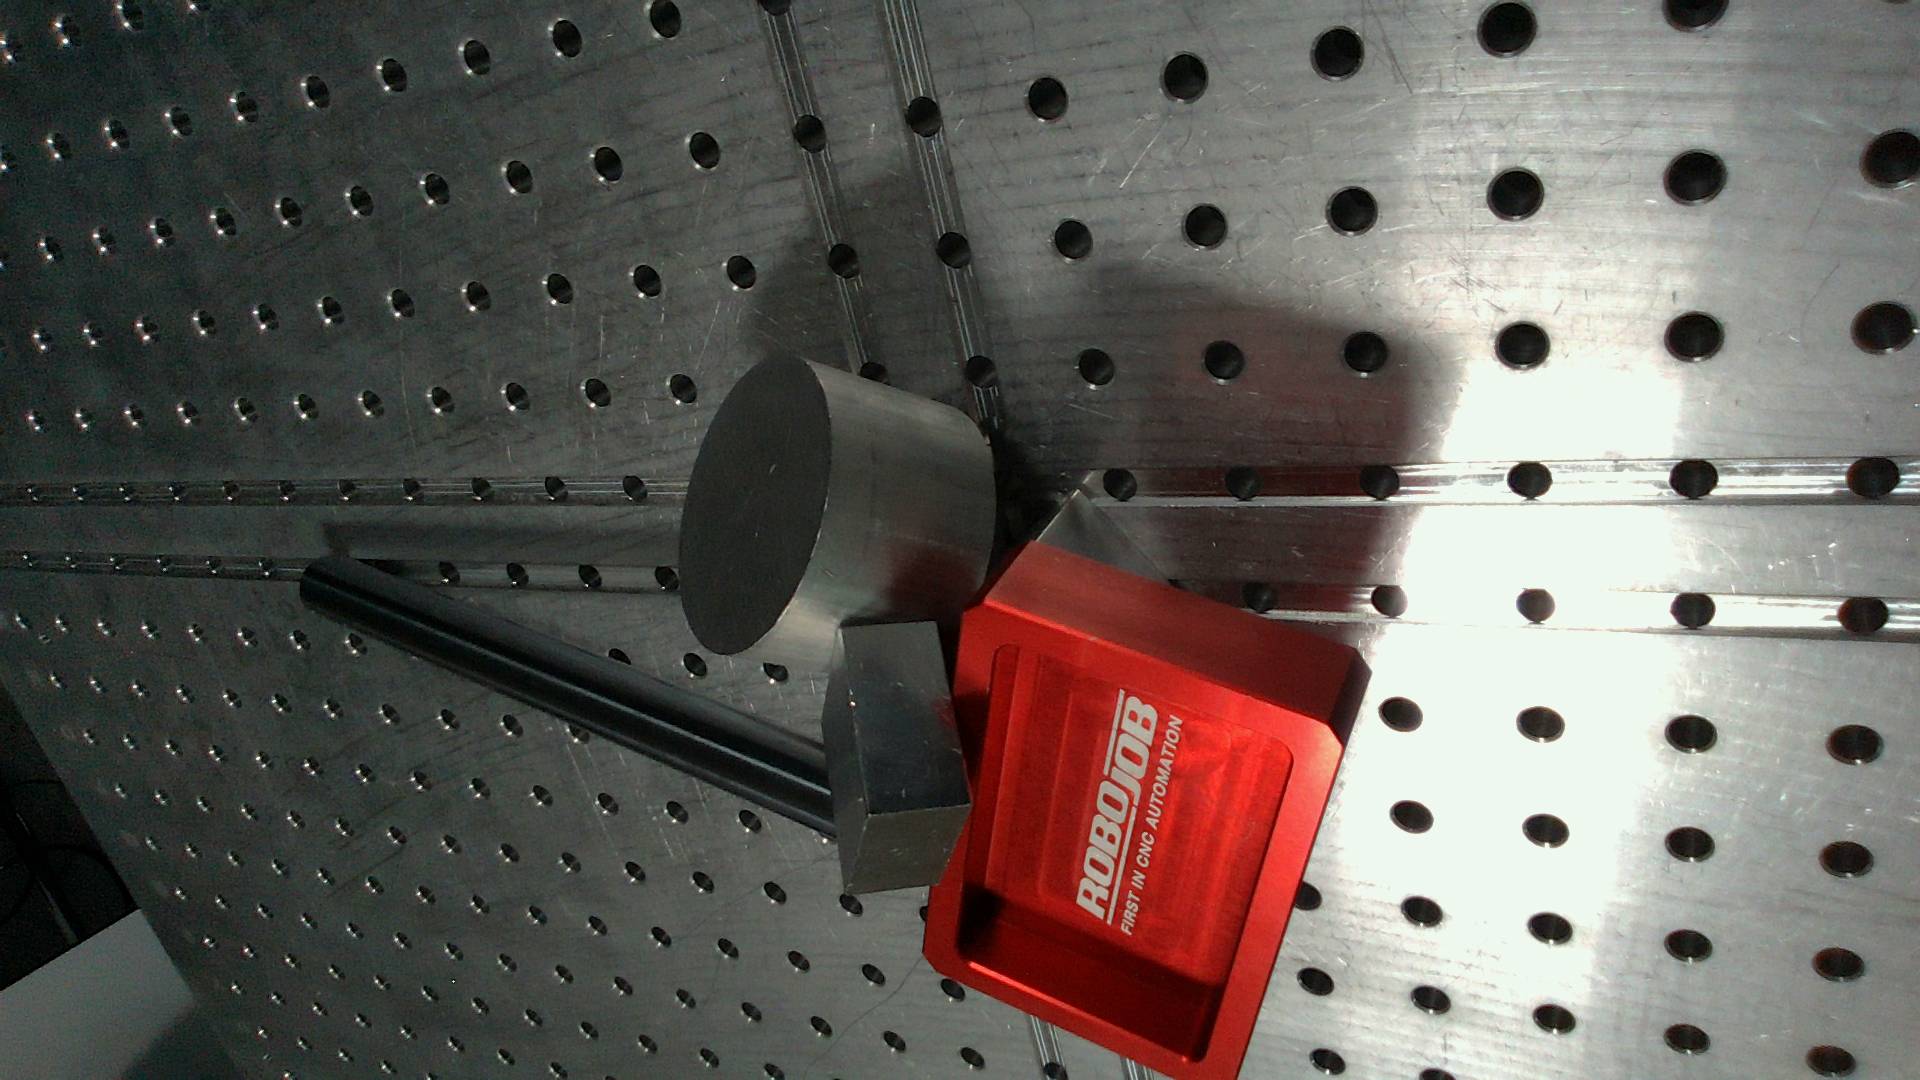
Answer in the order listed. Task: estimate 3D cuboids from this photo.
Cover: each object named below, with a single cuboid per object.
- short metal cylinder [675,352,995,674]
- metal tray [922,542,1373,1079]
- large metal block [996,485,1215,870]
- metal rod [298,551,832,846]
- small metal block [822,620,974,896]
[{"bbox_3d":[-0.035,-0.005,0.368,0.050,0.080,0.080,15,141,-35],"label":"short metal cylinder"},{"bbox_3d":[0.041,0.073,0.347,0.090,0.030,0.130,19,126,17],"label":"metal tray"},{"bbox_3d":[0.026,0.046,0.392,0.080,0.050,0.080,46,129,-4],"label":"large metal block"},{"bbox_3d":[-0.127,0.049,0.457,0.299,0.025,0.025,15,126,34],"label":"metal rod"},{"bbox_3d":[-0.018,0.055,0.346,0.025,0.050,0.050,-3,147,-14],"label":"small metal block"}]
